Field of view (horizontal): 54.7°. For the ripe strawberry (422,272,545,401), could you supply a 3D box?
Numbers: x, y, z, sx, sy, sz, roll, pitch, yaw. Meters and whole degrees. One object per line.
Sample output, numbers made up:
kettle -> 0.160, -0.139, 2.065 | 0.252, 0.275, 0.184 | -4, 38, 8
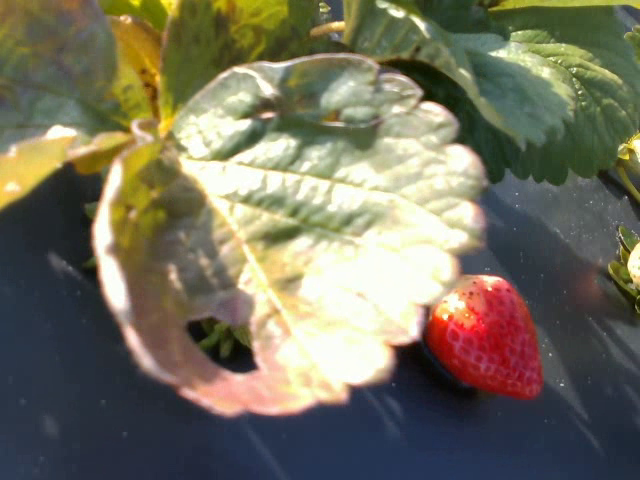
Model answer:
ripe strawberry -> 0.049, 0.028, 0.165 | 0.030, 0.045, 0.033 | -34, -14, -1
